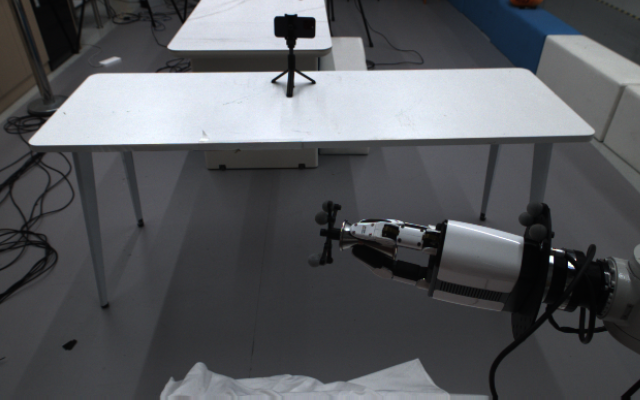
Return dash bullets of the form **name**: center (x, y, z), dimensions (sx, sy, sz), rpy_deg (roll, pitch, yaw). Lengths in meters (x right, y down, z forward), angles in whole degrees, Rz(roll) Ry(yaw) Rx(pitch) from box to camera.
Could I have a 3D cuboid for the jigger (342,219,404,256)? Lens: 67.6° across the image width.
- **jigger**: center (0.068, 0.044, 0.596), dimensions (0.071, 0.043, 0.043), rpy_deg (7, 35, 13)
